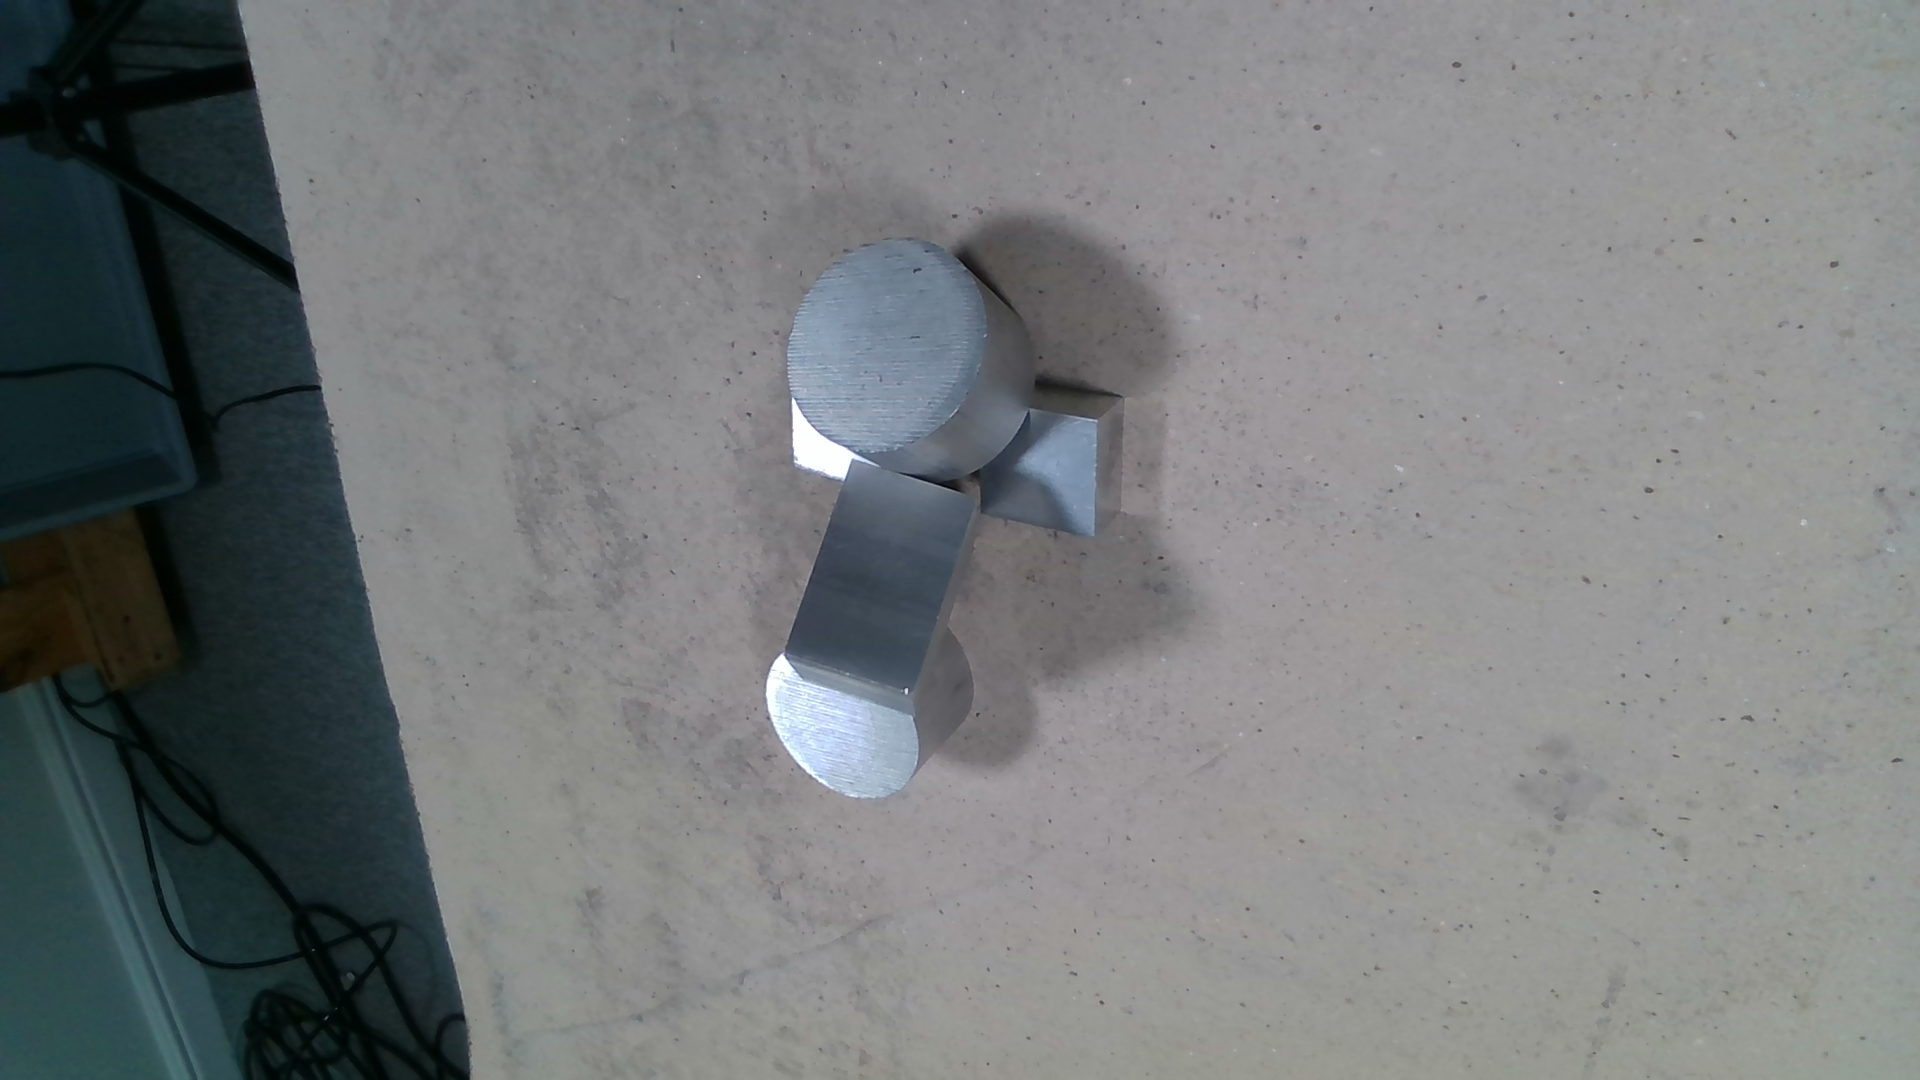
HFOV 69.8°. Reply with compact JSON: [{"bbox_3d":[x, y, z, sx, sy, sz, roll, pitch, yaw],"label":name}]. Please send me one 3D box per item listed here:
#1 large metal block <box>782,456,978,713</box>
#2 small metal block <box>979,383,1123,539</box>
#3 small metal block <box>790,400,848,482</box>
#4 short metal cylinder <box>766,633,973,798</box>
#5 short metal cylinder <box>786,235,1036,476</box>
[{"bbox_3d":[-0.029,0.021,0.550,0.050,0.080,0.080,17,168,4],"label":"large metal block"},{"bbox_3d":[0.035,-0.033,0.540,0.050,0.025,0.050,13,121,25],"label":"small metal block"},{"bbox_3d":[-0.044,-0.051,0.578,0.050,0.025,0.050,17,123,23],"label":"small metal block"},{"bbox_3d":[-0.041,0.070,0.627,0.080,0.050,0.080,14,122,25],"label":"short metal cylinder"},{"bbox_3d":[-0.018,-0.066,0.515,0.080,0.050,0.080,-5,78,23],"label":"short metal cylinder"}]
